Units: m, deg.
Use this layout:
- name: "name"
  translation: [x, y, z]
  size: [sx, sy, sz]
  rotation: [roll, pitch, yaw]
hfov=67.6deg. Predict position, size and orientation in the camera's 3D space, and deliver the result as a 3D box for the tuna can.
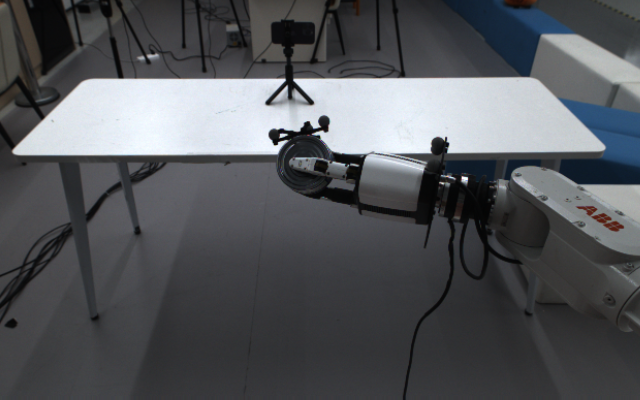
- name: "tuna can"
  translation: [-0.017, -0.047, 0.718]
  size: [0.085, 0.085, 0.034]
  rotation: [12, -6, 14]
